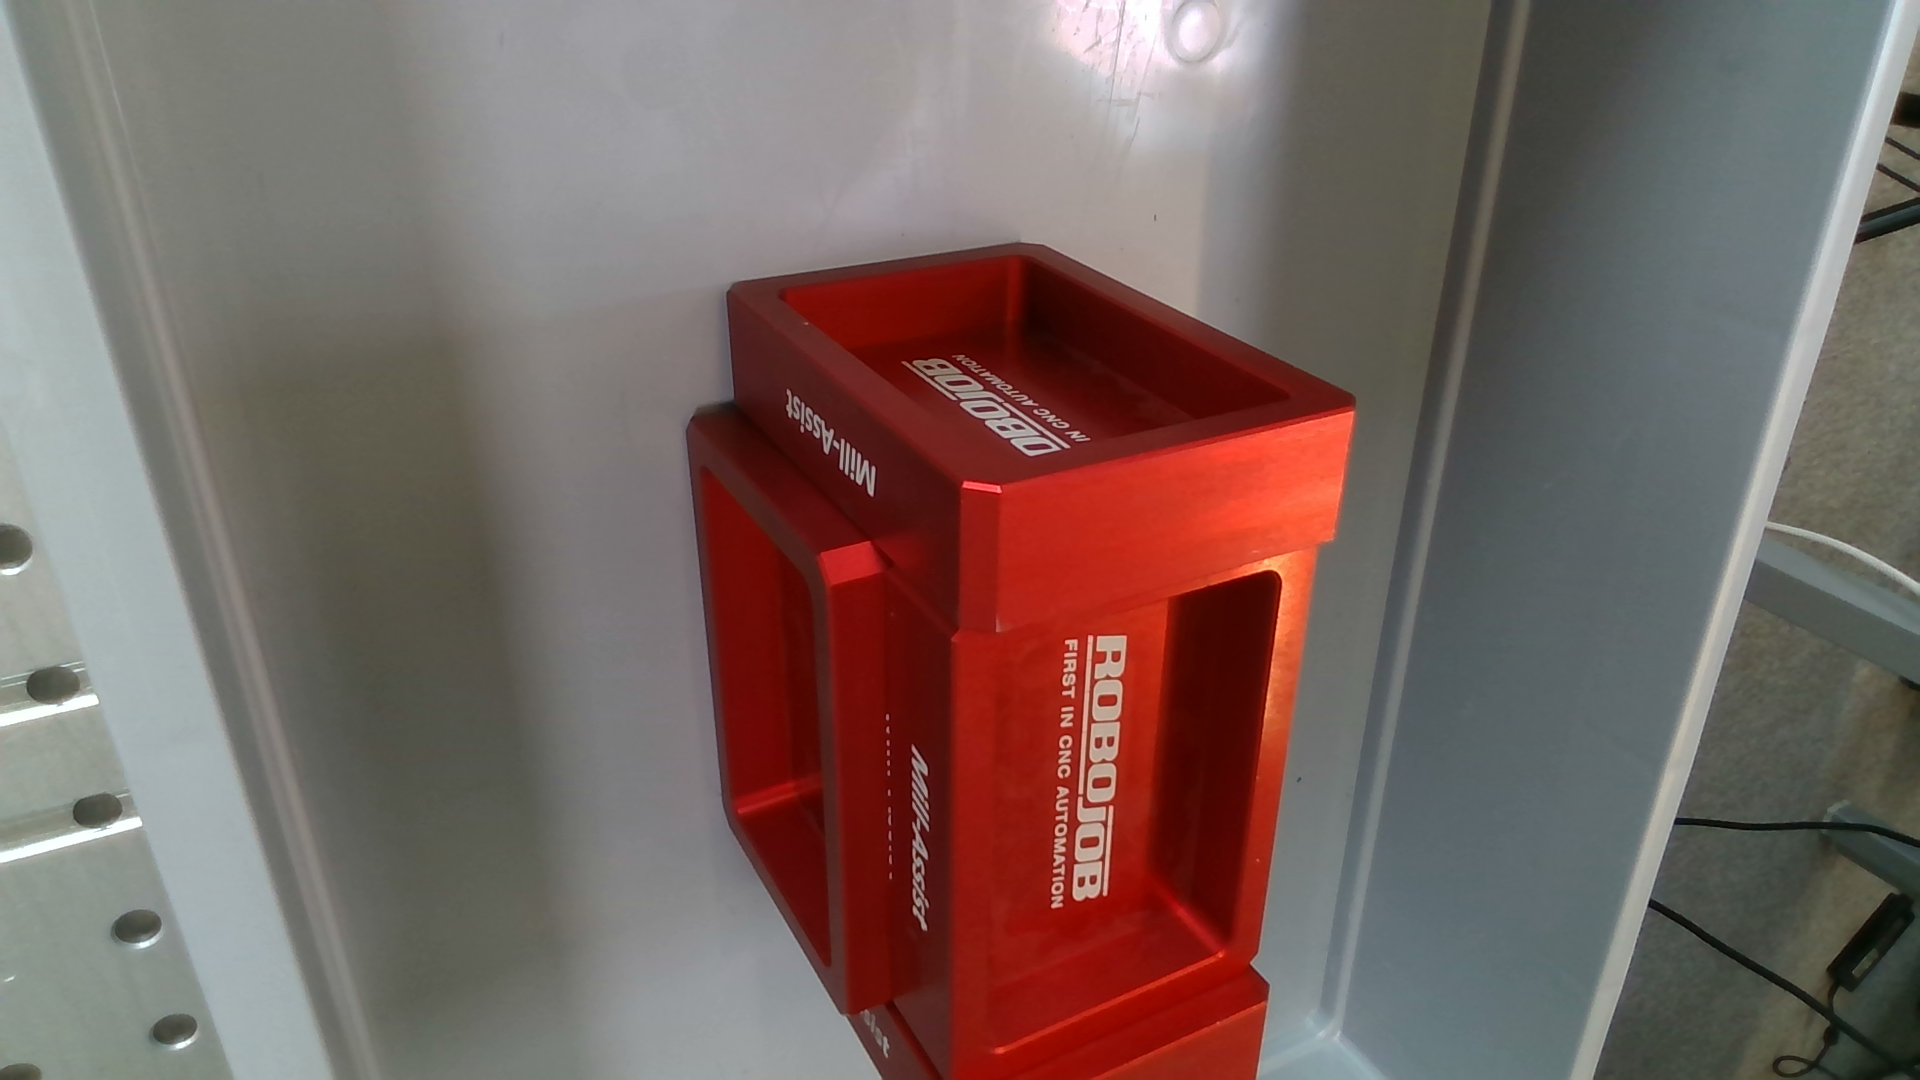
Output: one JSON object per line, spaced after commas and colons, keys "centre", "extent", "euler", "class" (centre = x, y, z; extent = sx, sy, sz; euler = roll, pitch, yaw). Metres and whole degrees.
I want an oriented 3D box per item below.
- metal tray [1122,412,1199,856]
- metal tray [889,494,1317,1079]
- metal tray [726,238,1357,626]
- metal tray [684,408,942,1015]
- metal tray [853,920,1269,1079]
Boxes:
{"centre": [0.044, 0.021, 0.383], "extent": [0.030, 0.090, 0.130], "euler": [-14, 121, -24], "class": "metal tray"}
{"centre": [0.031, 0.055, 0.318], "extent": [0.090, 0.030, 0.130], "euler": [-14, 121, -26], "class": "metal tray"}
{"centre": [0.012, -0.033, 0.310], "extent": [0.090, 0.130, 0.030], "euler": [-14, 121, -25], "class": "metal tray"}
{"centre": [-0.035, 0.040, 0.345], "extent": [0.030, 0.090, 0.130], "euler": [-15, 122, -25], "class": "metal tray"}
{"centre": [0.011, 0.110, 0.386], "extent": [0.090, 0.130, 0.030], "euler": [-13, 121, -25], "class": "metal tray"}
